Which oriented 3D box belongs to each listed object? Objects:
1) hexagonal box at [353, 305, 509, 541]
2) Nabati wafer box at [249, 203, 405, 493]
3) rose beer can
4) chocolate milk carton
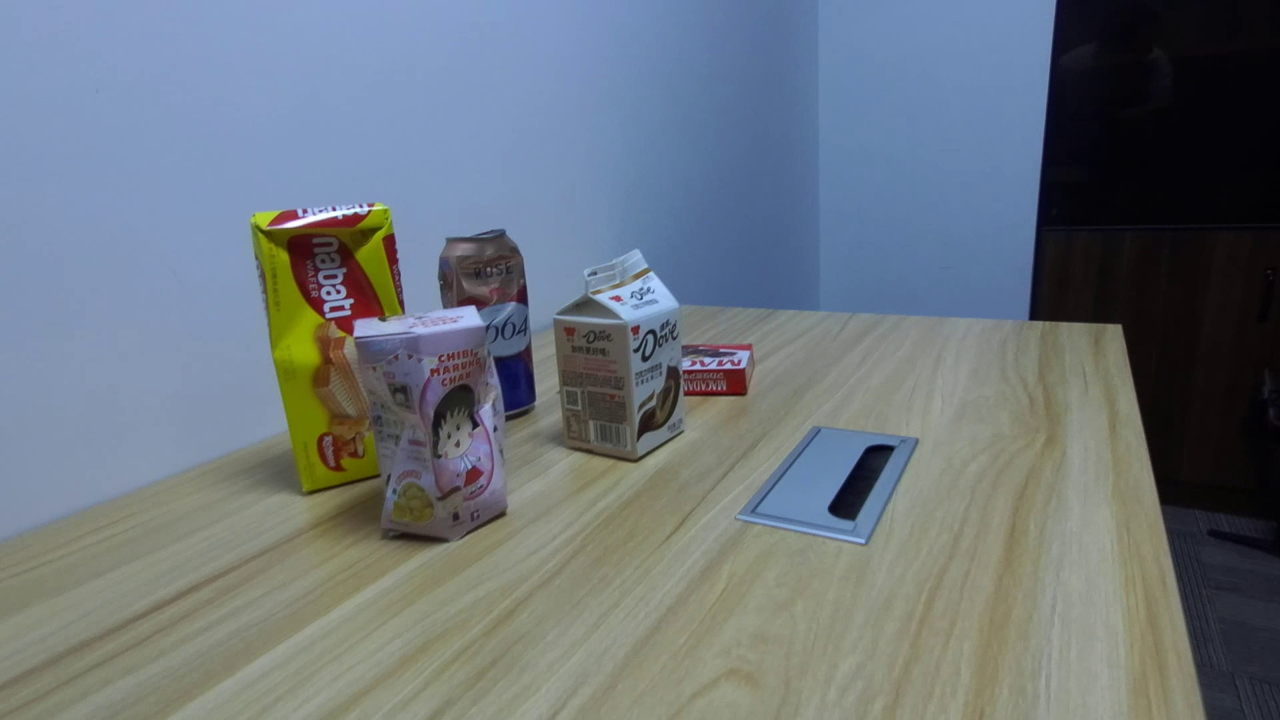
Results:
[{"bbox_3d":[-0.136,0.040,0.457,0.093,0.134,0.089,-2,16,7],"label":"hexagonal box"},{"bbox_3d":[-0.221,-0.010,0.528,0.097,0.203,0.042,-10,16,-27],"label":"Nabati wafer box"},{"bbox_3d":[-0.138,-0.032,0.650,0.076,0.167,0.065,-14,18,-22],"label":"rose beer can"},{"bbox_3d":[-0.016,-0.008,0.554,0.073,0.148,0.076,7,18,33],"label":"chocolate milk carton"}]
